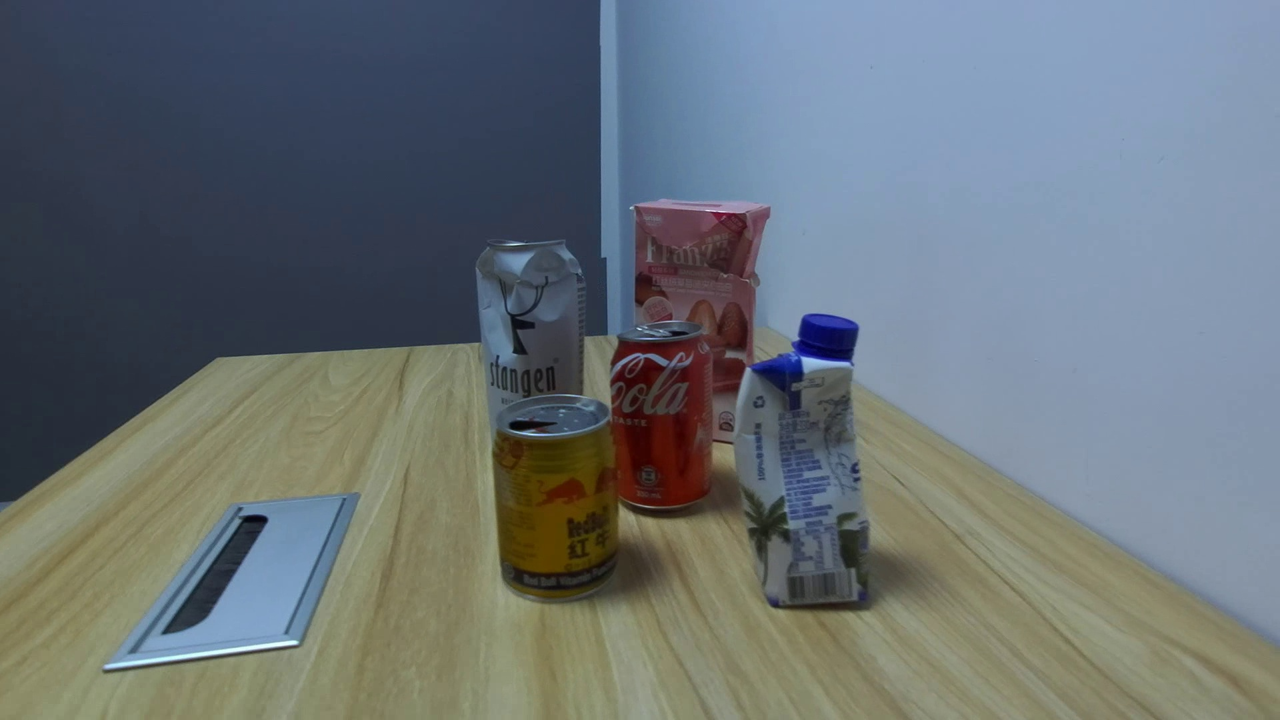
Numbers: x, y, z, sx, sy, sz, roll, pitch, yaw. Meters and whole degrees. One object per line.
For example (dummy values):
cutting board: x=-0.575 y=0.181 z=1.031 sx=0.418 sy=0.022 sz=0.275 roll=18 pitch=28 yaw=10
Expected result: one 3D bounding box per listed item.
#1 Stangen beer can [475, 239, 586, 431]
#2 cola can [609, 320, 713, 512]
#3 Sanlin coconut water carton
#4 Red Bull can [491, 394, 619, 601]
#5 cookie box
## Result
Stangen beer can: x=-0.076 y=-0.002 z=0.506 sx=0.066 sy=0.166 sz=0.065 roll=-13 pitch=20 yaw=-38
cola can: x=0.015 y=0.035 z=0.461 sx=0.065 sy=0.117 sz=0.072 roll=15 pitch=23 yaw=33
Sanlin coconut water carton: x=0.082 y=0.049 z=0.365 sx=0.068 sy=0.144 sz=0.057 roll=-7 pitch=10 yaw=1
Red Bull can: x=-0.045 y=0.072 z=0.380 sx=0.067 sy=0.093 sz=0.067 roll=0 pitch=17 yaw=0
cookie box: x=0.046 y=-0.030 z=0.561 sx=0.104 sy=0.186 sz=0.059 roll=9 pitch=19 yaw=28
